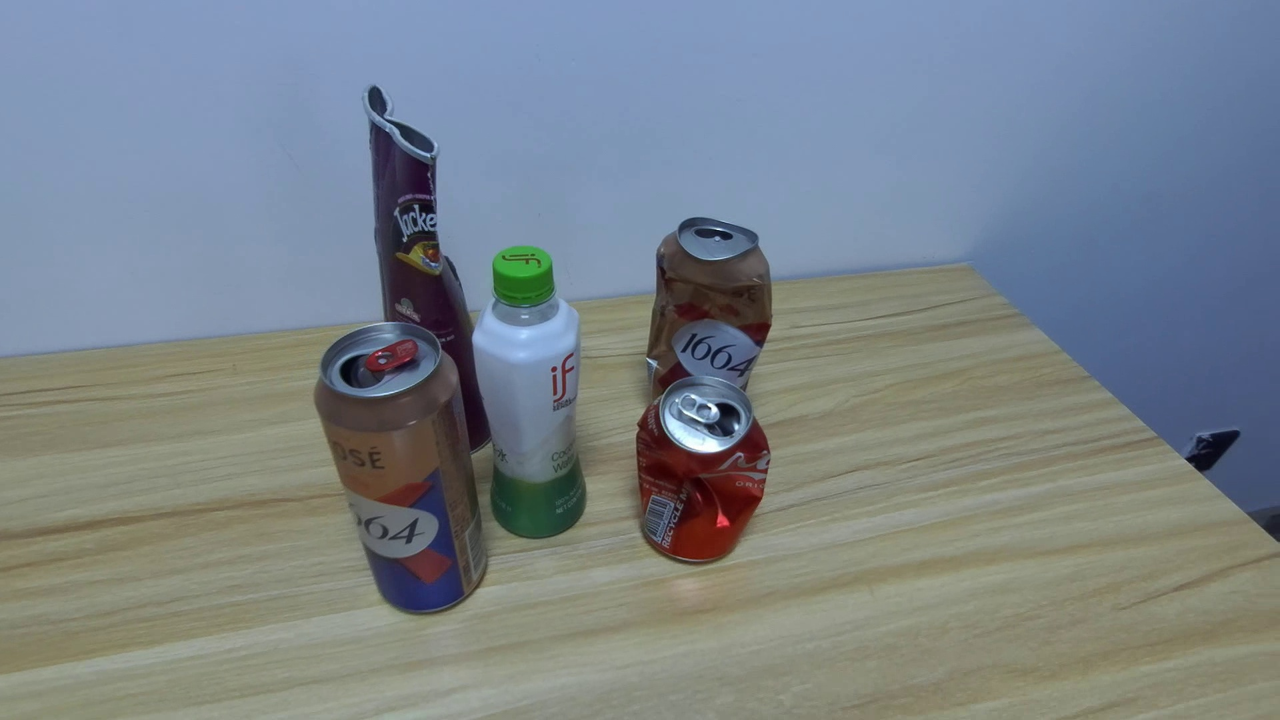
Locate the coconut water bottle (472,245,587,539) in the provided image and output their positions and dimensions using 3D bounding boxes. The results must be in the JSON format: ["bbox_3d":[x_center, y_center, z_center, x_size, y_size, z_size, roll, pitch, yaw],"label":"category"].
[{"bbox_3d":[-0.064,0.024,0.418,0.063,0.189,0.063,1,38,-1],"label":"coconut water bottle"}]

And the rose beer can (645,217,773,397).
[{"bbox_3d":[0.045,-0.016,0.493,0.074,0.162,0.068,-2,38,-9],"label":"rose beer can"}]

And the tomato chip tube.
[{"bbox_3d":[-0.136,-0.042,0.454,0.078,0.236,0.090,8,39,7],"label":"tomato chip tube"}]

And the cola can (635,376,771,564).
[{"bbox_3d":[0.034,0.067,0.429,0.066,0.112,0.069,-18,45,-23],"label":"cola can"}]

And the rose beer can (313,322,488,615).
[{"bbox_3d":[-0.123,0.064,0.380,0.068,0.169,0.068,2,39,-1],"label":"rose beer can"}]
